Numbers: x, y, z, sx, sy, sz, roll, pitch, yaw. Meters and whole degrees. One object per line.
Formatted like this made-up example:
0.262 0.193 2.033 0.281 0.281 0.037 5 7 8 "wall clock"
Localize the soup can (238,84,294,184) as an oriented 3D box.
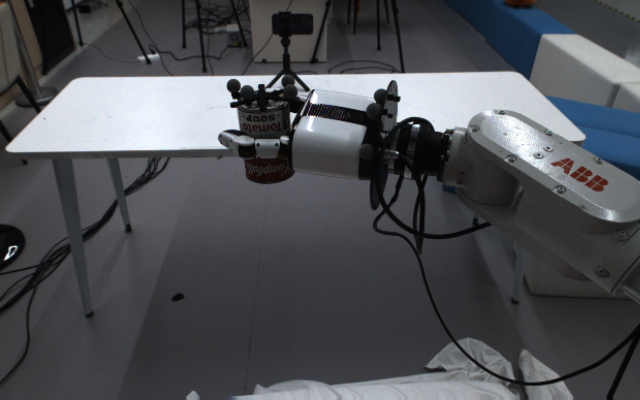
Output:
-0.068 -0.081 0.629 0.067 0.101 0.067 -2 32 1 "soup can"
